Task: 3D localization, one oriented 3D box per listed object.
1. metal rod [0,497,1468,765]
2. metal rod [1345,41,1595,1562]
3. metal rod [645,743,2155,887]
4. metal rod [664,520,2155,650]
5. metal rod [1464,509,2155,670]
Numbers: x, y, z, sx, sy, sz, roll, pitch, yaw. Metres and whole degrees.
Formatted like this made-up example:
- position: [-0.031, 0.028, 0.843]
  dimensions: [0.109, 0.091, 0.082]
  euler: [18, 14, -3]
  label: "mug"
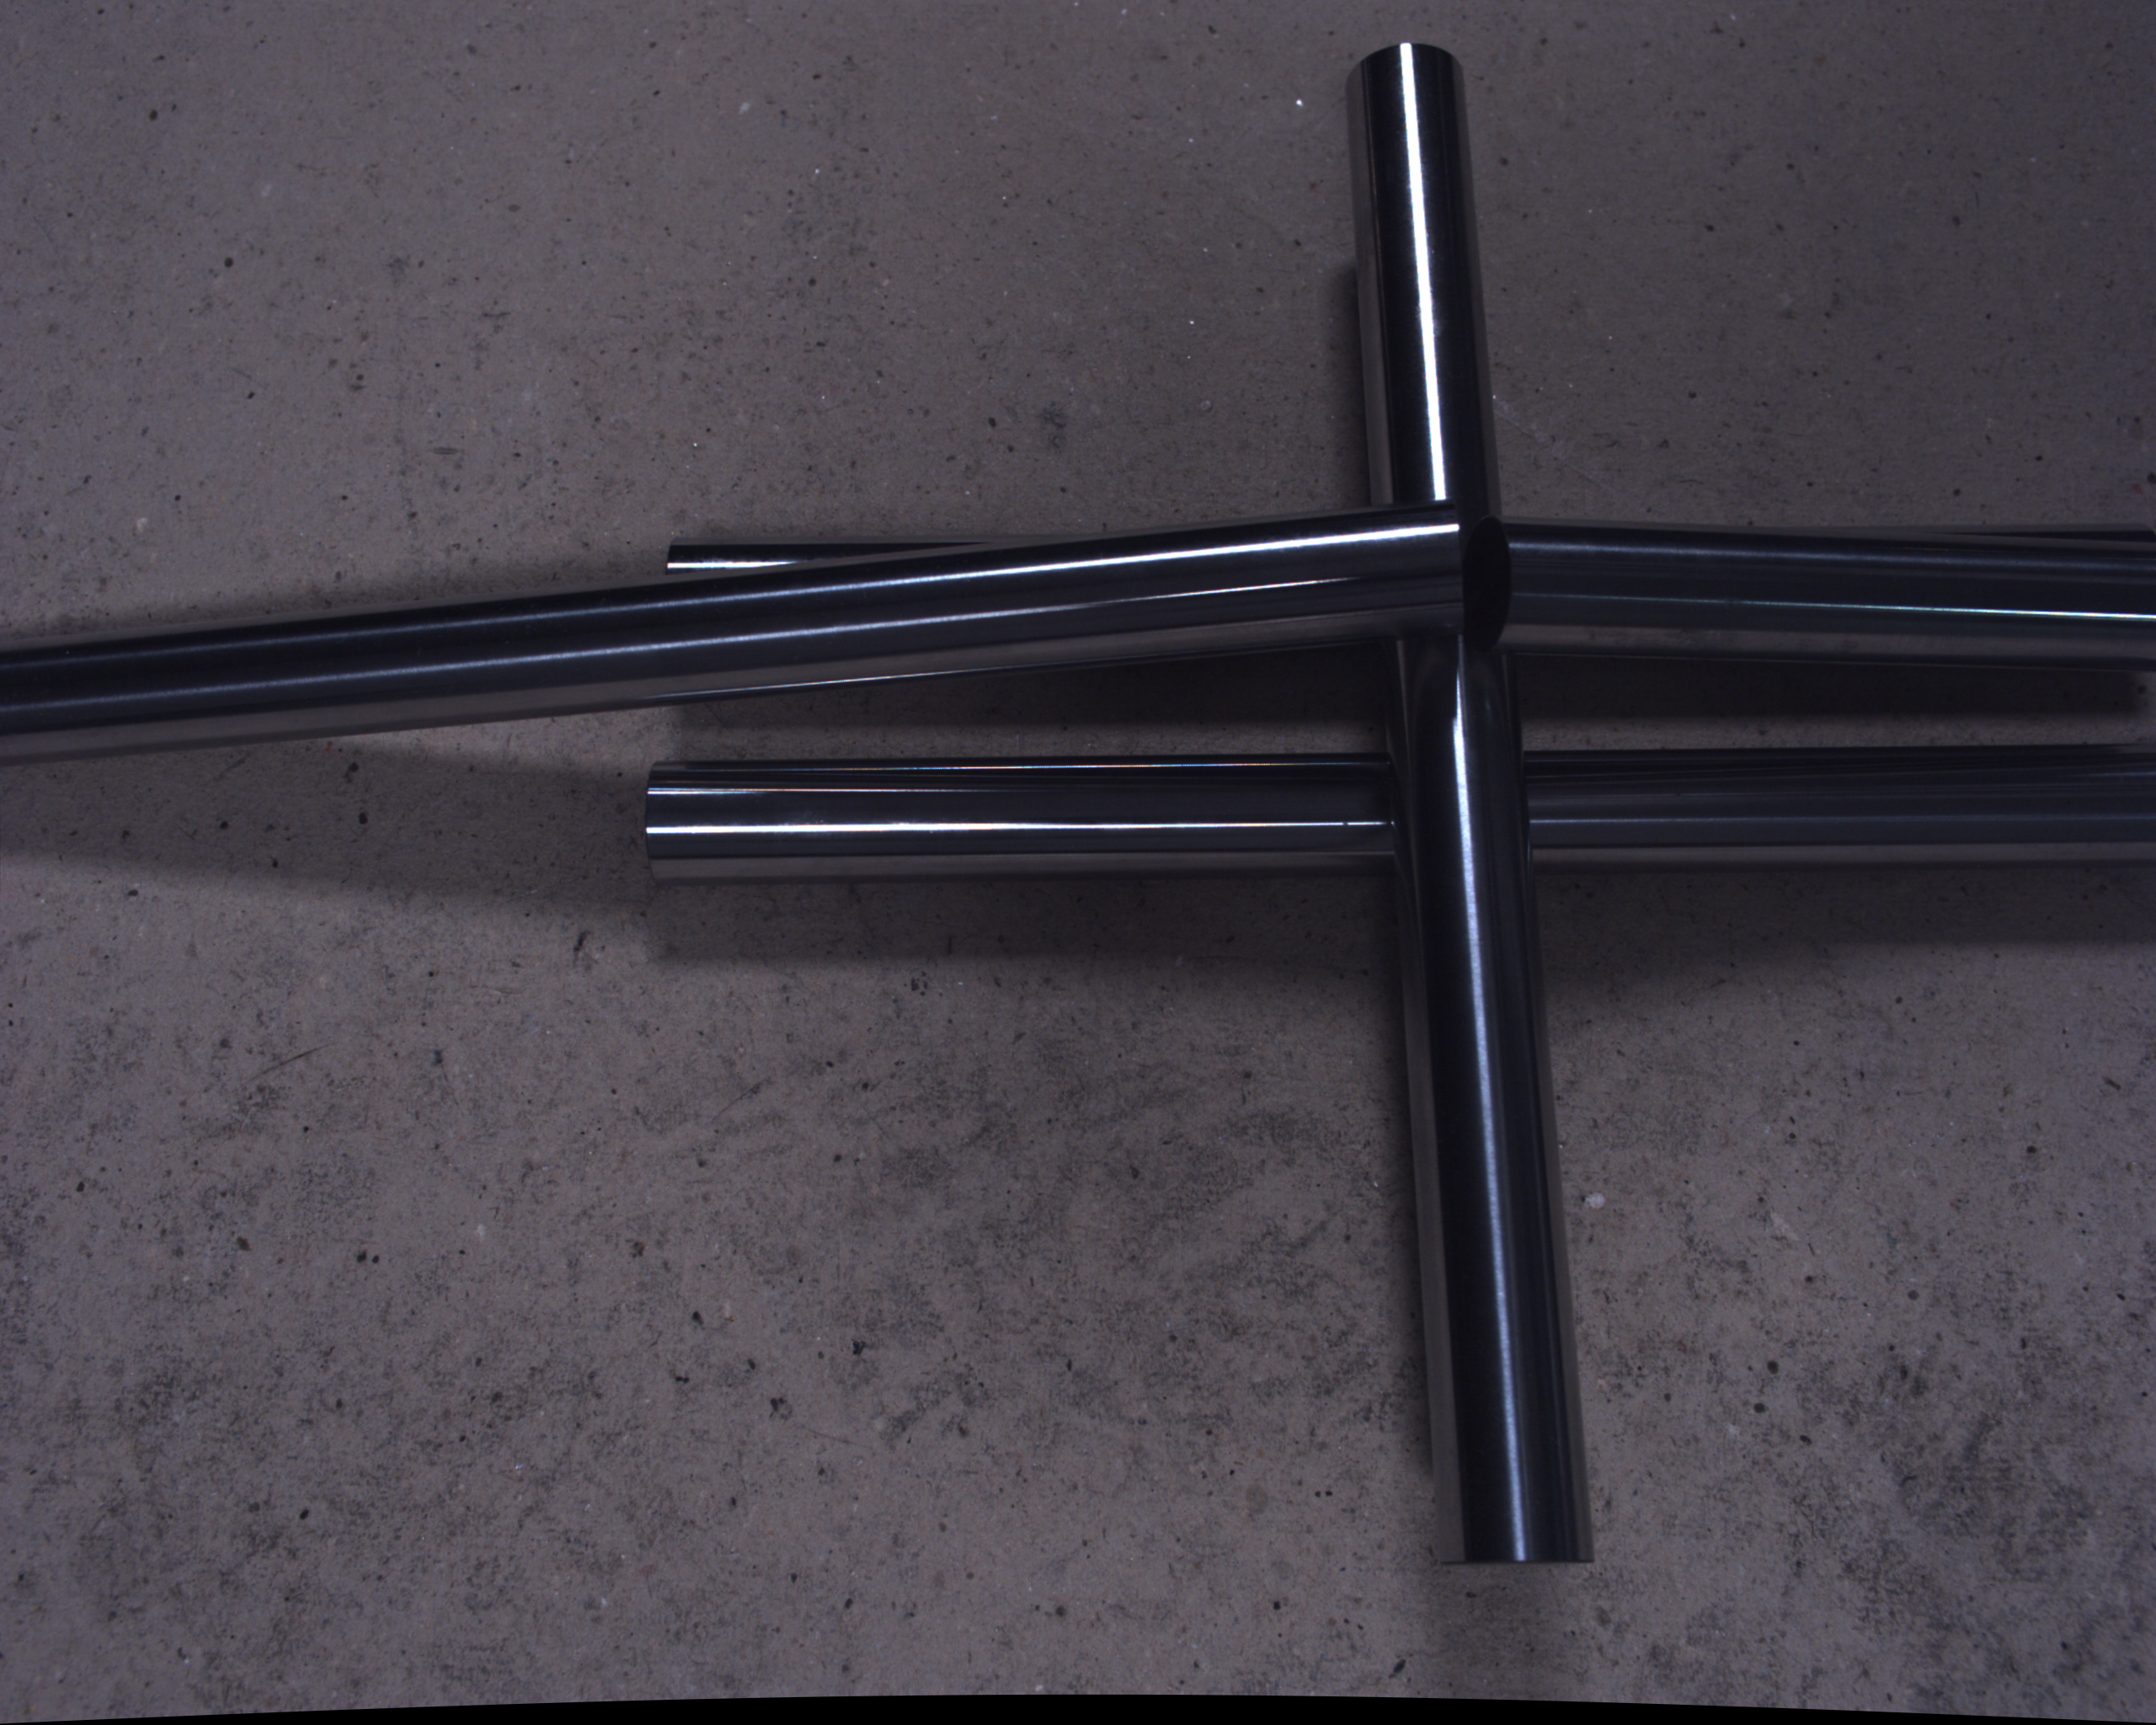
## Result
- position: [-0.080, -0.042, 0.397]
  dimensions: [0.302, 0.025, 0.025]
  euler: [-4, 70, 8]
  label: "metal rod"
- position: [0.071, -0.026, 0.393]
  dimensions: [0.025, 0.025, 0.299]
  euler: [0, 70, -1]
  label: "metal rod"
- position: [0.068, -0.010, 0.413]
  dimensions: [0.302, 0.025, 0.025]
  euler: [-1, 70, -1]
  label: "metal rod"
- position: [0.068, -0.056, 0.430]
  dimensions: [0.302, 0.025, 0.025]
  euler: [-1, 70, -1]
  label: "metal rod"
- position: [0.221, -0.049, 0.404]
  dimensions: [0.302, 0.025, 0.025]
  euler: [1, 70, -11]
  label: "metal rod"
